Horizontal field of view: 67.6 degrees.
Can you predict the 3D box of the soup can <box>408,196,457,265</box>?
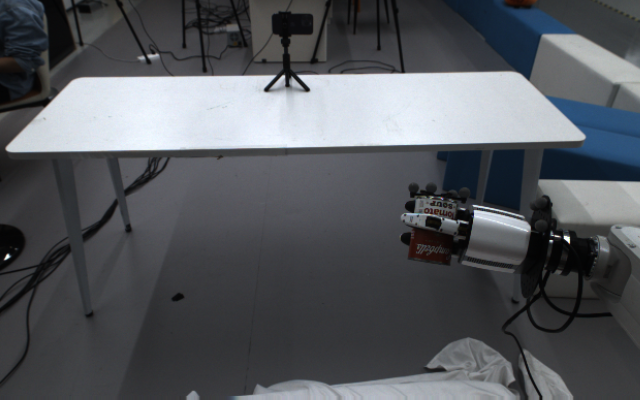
[{"bbox_3d":[0.180,0.048,0.767,0.067,0.101,0.067,9,-6,1],"label":"soup can"}]
